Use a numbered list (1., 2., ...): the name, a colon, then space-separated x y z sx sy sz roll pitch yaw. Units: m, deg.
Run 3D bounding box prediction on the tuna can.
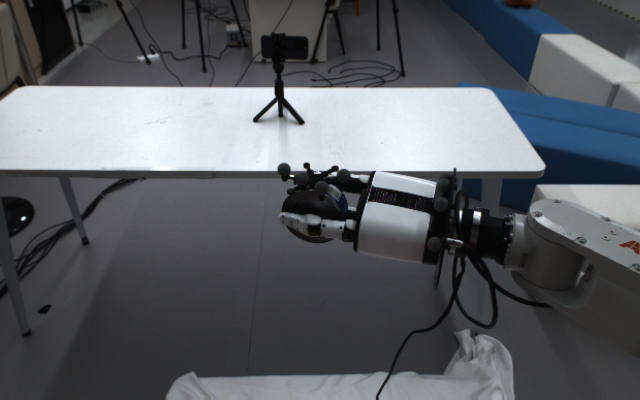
1. tuna can: -0.005 0.013 0.650 0.085 0.085 0.034 10 34 12
